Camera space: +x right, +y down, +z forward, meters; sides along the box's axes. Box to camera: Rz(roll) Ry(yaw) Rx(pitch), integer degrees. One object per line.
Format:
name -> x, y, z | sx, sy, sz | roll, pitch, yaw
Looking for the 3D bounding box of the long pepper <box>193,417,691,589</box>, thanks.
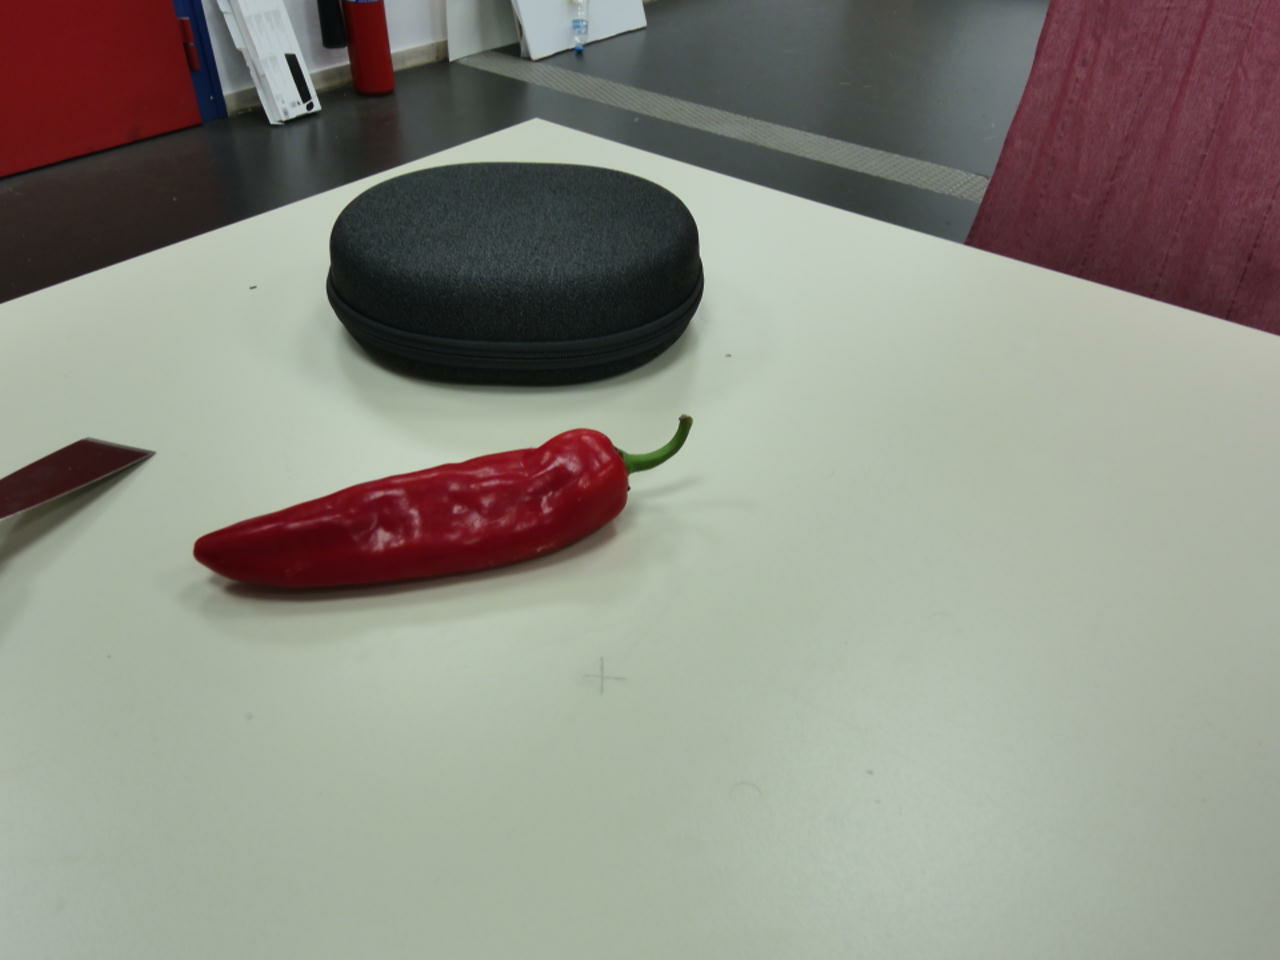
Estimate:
long pepper -> -0.073, 0.011, 0.413 | 0.211, 0.043, 0.050 | -12, 38, -17
